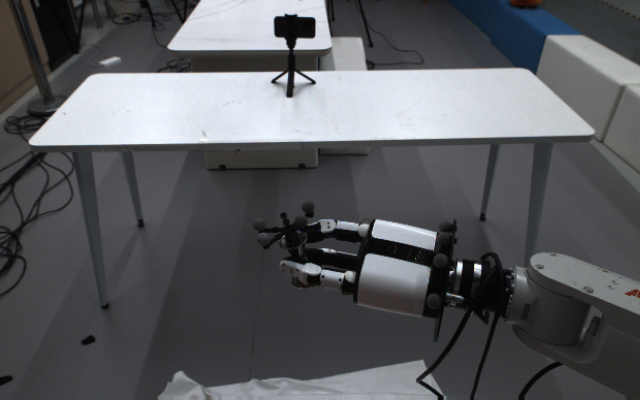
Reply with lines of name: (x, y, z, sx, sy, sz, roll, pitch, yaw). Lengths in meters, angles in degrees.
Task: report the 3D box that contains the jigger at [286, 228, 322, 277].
jigger: (-0.026, 0.080, 0.661, 0.043, 0.071, 0.043, -12, 29, 7)
